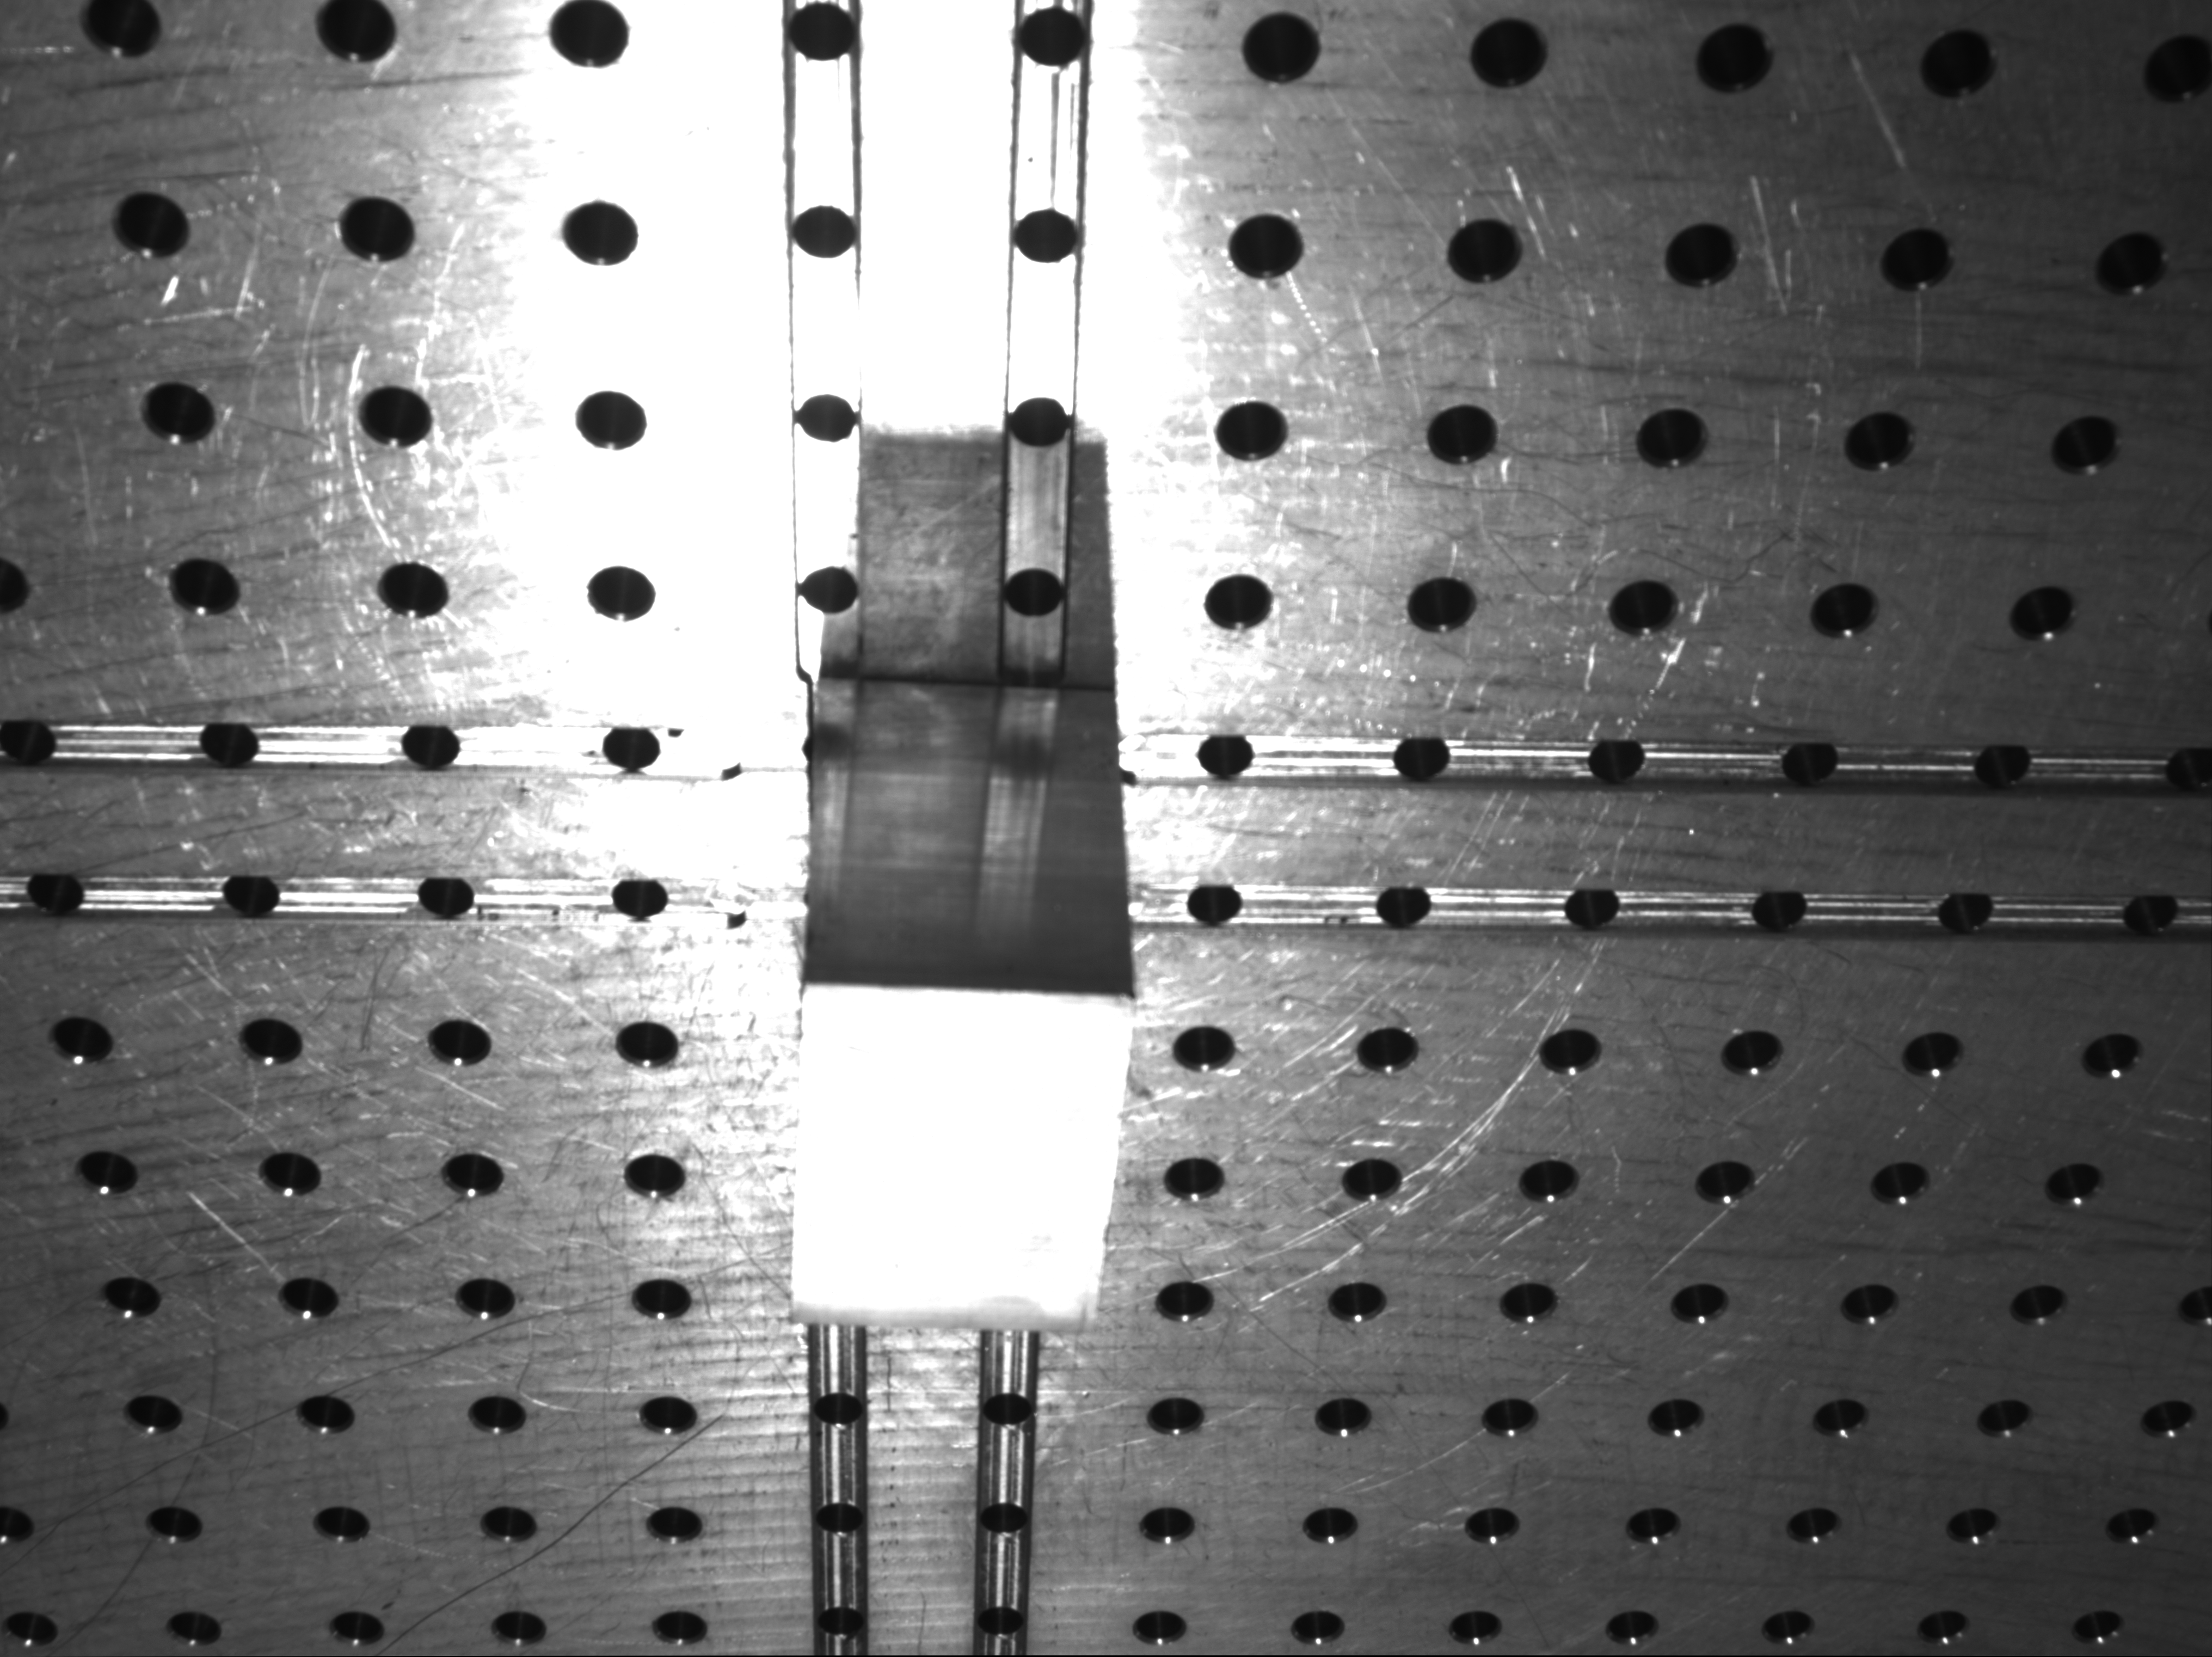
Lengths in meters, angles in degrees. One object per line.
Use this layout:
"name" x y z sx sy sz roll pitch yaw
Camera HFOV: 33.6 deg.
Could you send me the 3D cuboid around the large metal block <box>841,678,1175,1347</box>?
"large metal block" -0.018 0.031 0.630 0.050 0.080 0.080 3 130 -4
